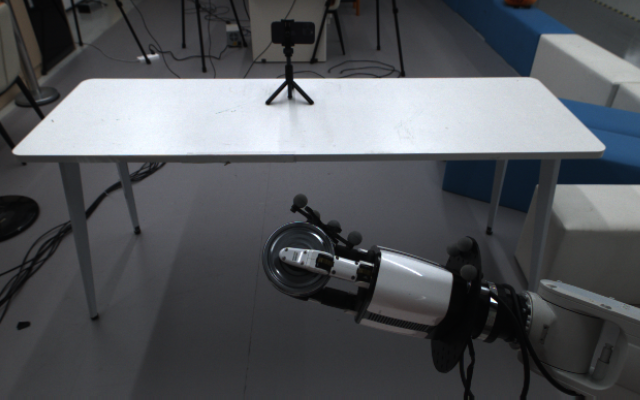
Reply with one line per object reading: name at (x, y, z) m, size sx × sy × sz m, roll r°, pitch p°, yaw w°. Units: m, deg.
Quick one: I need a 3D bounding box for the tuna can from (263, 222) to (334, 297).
tuna can at (-0.020, 0.076, 0.565) m, size 0.085 × 0.034 × 0.085 m, roll 0°, pitch 73°, yaw 0°
